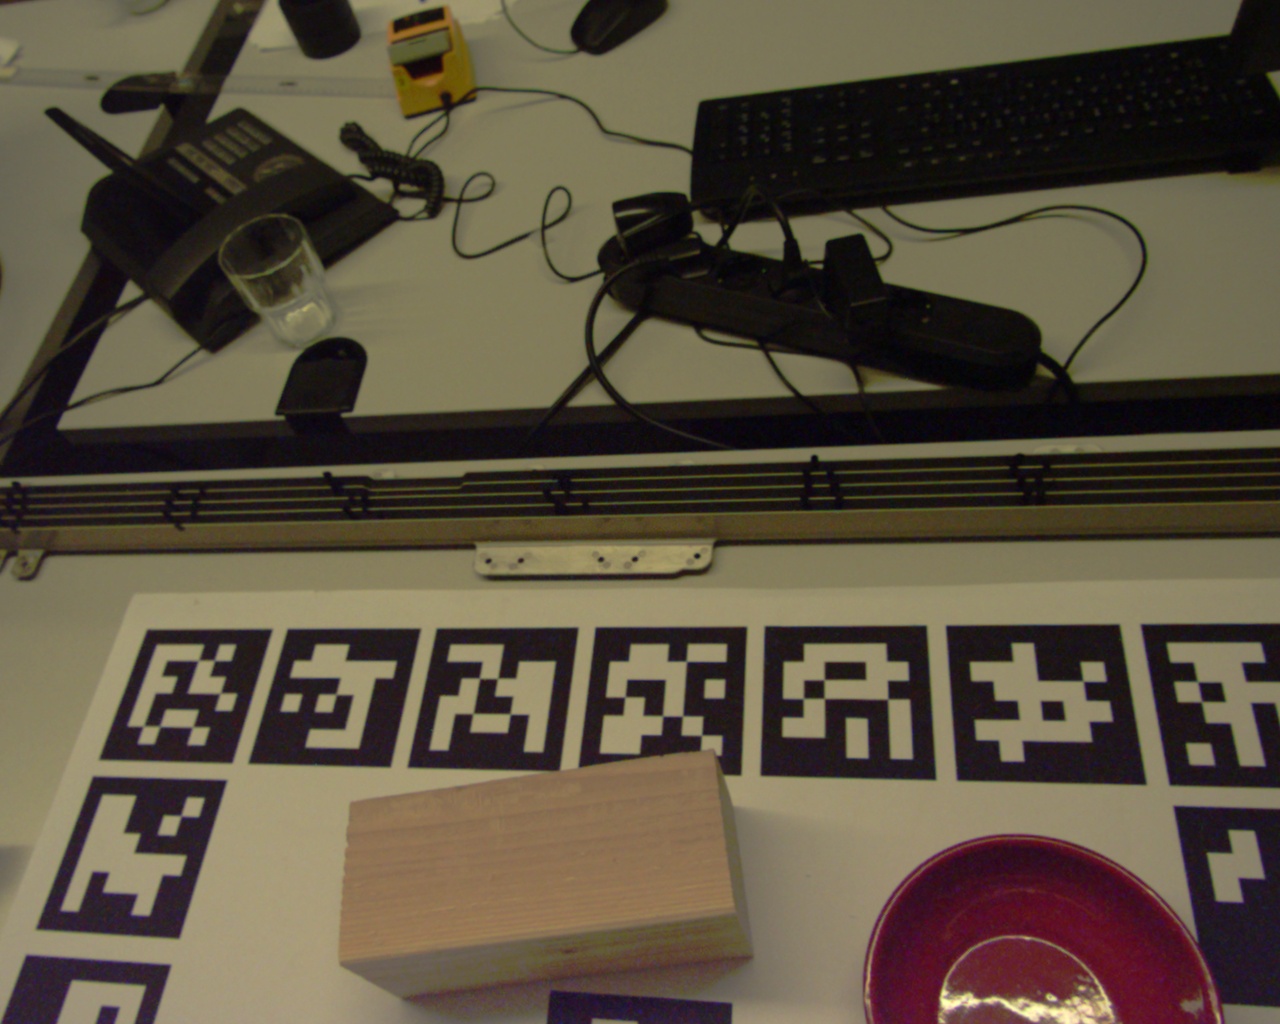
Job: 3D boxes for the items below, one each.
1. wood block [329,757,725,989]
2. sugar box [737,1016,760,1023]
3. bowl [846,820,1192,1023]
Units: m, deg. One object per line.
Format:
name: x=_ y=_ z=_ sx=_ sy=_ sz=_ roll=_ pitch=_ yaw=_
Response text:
wood block: x=-0.063 y=0.209 z=0.655 sx=0.207 sy=0.089 sz=0.091 roll=-10 pitch=58 yaw=6
sugar box: x=0.094 y=0.280 z=0.504 sx=0.094 sy=0.175 sz=0.045 roll=15 pitch=62 yaw=26
bowl: x=0.190 y=0.245 z=0.584 sx=0.162 sy=0.055 sz=0.162 roll=-9 pitch=53 yaw=12
